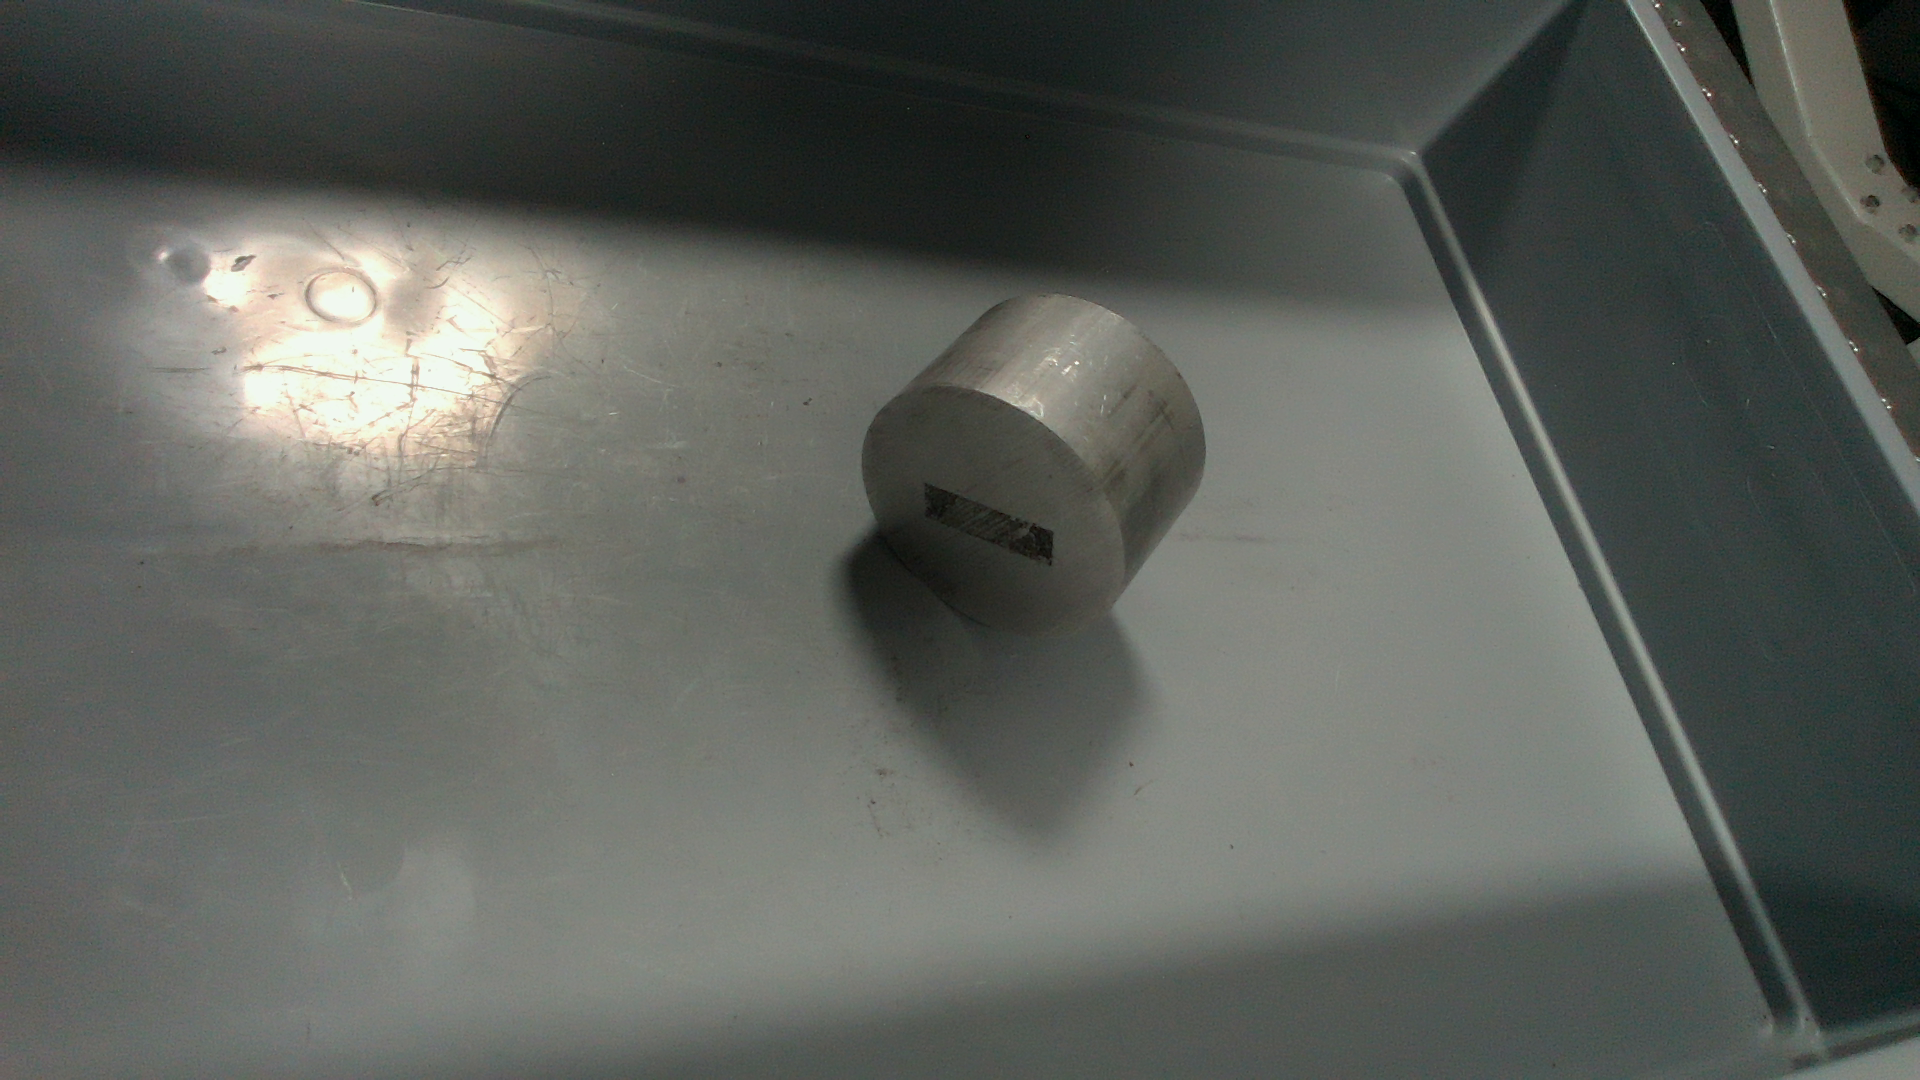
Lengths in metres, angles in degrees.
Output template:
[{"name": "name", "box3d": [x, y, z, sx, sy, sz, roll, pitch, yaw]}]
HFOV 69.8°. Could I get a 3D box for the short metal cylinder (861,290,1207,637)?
[{"name": "short metal cylinder", "box3d": [0.020, -0.021, 0.375, 0.080, 0.080, 0.050, 41, 51, 0]}]
